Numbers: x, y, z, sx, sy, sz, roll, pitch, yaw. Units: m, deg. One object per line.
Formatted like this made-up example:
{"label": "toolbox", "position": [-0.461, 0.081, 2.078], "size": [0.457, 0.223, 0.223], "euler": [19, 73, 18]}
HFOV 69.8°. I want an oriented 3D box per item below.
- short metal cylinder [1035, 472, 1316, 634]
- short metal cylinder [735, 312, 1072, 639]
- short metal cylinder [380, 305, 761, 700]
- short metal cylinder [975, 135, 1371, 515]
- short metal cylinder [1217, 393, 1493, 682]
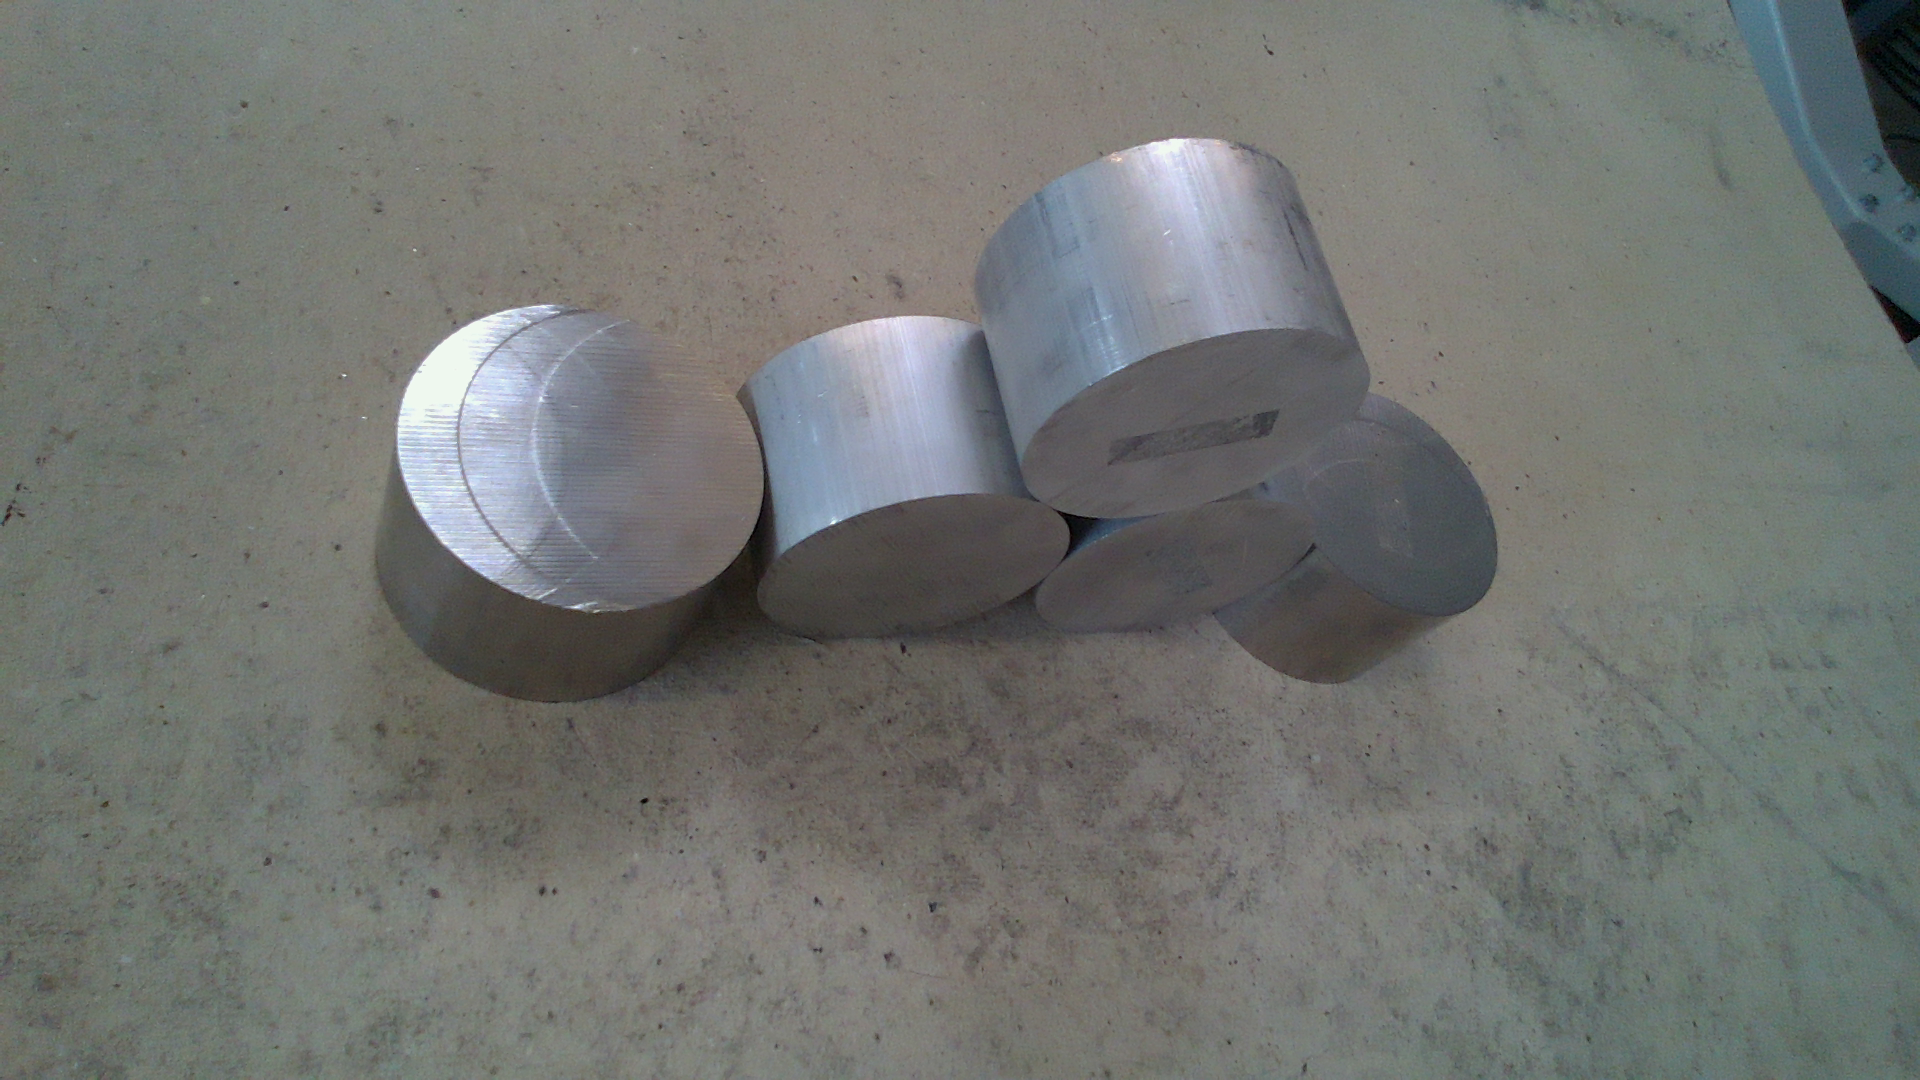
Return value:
{"label": "short metal cylinder", "position": [0.054, -0.013, 0.392], "size": [0.080, 0.080, 0.050], "euler": [0, 61, -28]}
{"label": "short metal cylinder", "position": [-0.016, -0.014, 0.354], "size": [0.080, 0.080, 0.050], "euler": [0, 61, -28]}
{"label": "short metal cylinder", "position": [-0.094, -0.009, 0.328], "size": [0.080, 0.050, 0.080], "euler": [14, 56, -21]}
{"label": "short metal cylinder", "position": [0.048, -0.047, 0.320], "size": [0.080, 0.080, 0.050], "euler": [1, 62, -28]}
{"label": "short metal cylinder", "position": [0.120, -0.001, 0.439], "size": [0.080, 0.050, 0.080], "euler": [14, 56, -21]}
